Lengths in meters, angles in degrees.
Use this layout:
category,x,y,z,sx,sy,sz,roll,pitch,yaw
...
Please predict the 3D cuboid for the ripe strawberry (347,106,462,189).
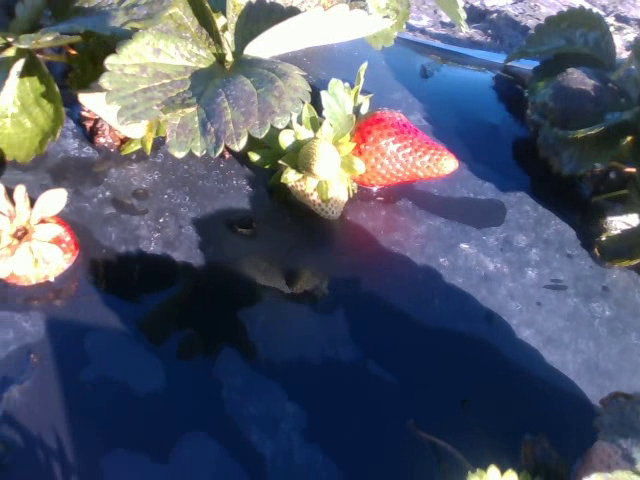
category,x,y,z,sx,sy,sz,roll,pitch,yaw
ripe strawberry,0.042,-0.044,0.307,0.064,0.050,0.052,16,-8,11
